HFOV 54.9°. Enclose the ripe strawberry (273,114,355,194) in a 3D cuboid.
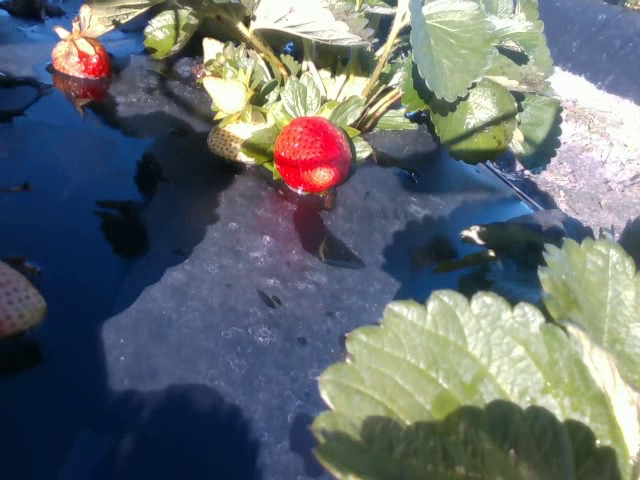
[{"bbox_3d":[-0.002,-0.040,0.311,0.049,0.052,0.064,-26,31,0],"label":"ripe strawberry"}]
